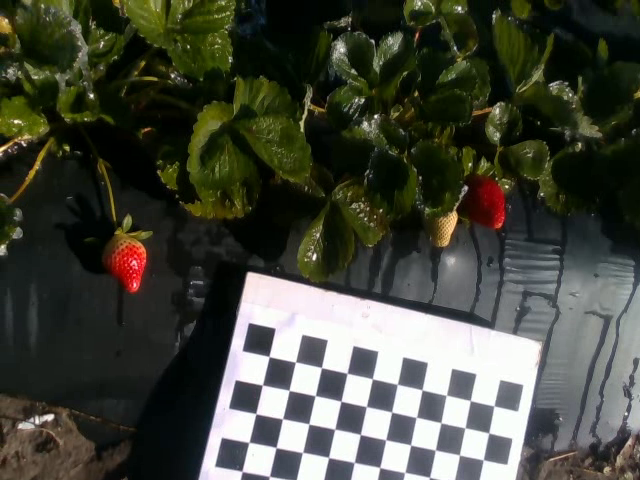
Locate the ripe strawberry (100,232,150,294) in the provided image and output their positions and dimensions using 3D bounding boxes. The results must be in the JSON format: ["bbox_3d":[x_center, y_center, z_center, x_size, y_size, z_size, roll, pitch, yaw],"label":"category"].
[{"bbox_3d":[-0.152,0.020,0.657,0.039,0.053,0.041,-9,-15,-16],"label":"ripe strawberry"}]
